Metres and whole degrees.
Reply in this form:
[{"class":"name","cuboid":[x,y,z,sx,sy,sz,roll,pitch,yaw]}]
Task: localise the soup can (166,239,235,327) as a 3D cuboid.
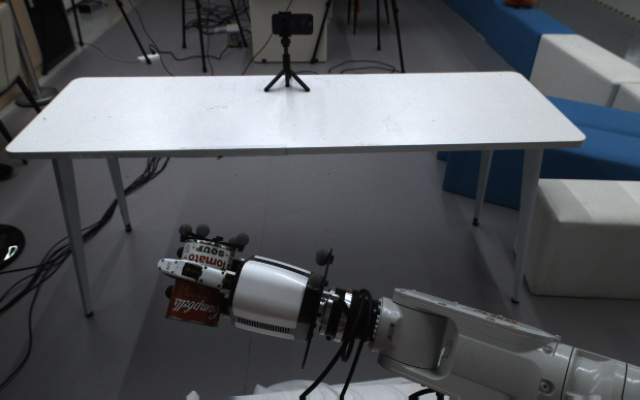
[{"class":"soup can","cuboid":[-0.153,0.109,0.624,0.067,0.067,0.101,8,72,8]}]
